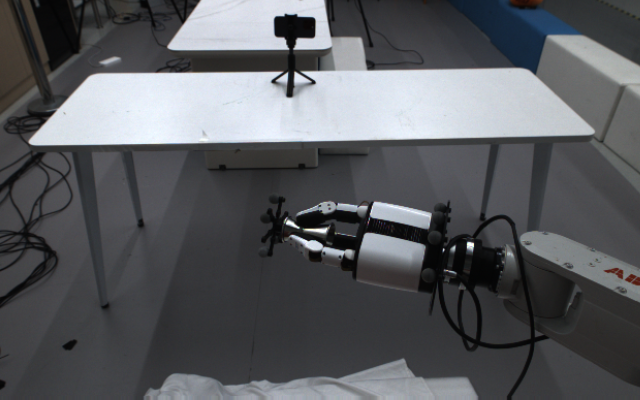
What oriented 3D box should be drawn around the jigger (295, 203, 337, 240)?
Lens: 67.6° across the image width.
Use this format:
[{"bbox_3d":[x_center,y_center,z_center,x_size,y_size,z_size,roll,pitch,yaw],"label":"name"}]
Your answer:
[{"bbox_3d":[-0.011,0.045,0.696,0.071,0.043,0.043,11,36,15],"label":"jigger"}]
